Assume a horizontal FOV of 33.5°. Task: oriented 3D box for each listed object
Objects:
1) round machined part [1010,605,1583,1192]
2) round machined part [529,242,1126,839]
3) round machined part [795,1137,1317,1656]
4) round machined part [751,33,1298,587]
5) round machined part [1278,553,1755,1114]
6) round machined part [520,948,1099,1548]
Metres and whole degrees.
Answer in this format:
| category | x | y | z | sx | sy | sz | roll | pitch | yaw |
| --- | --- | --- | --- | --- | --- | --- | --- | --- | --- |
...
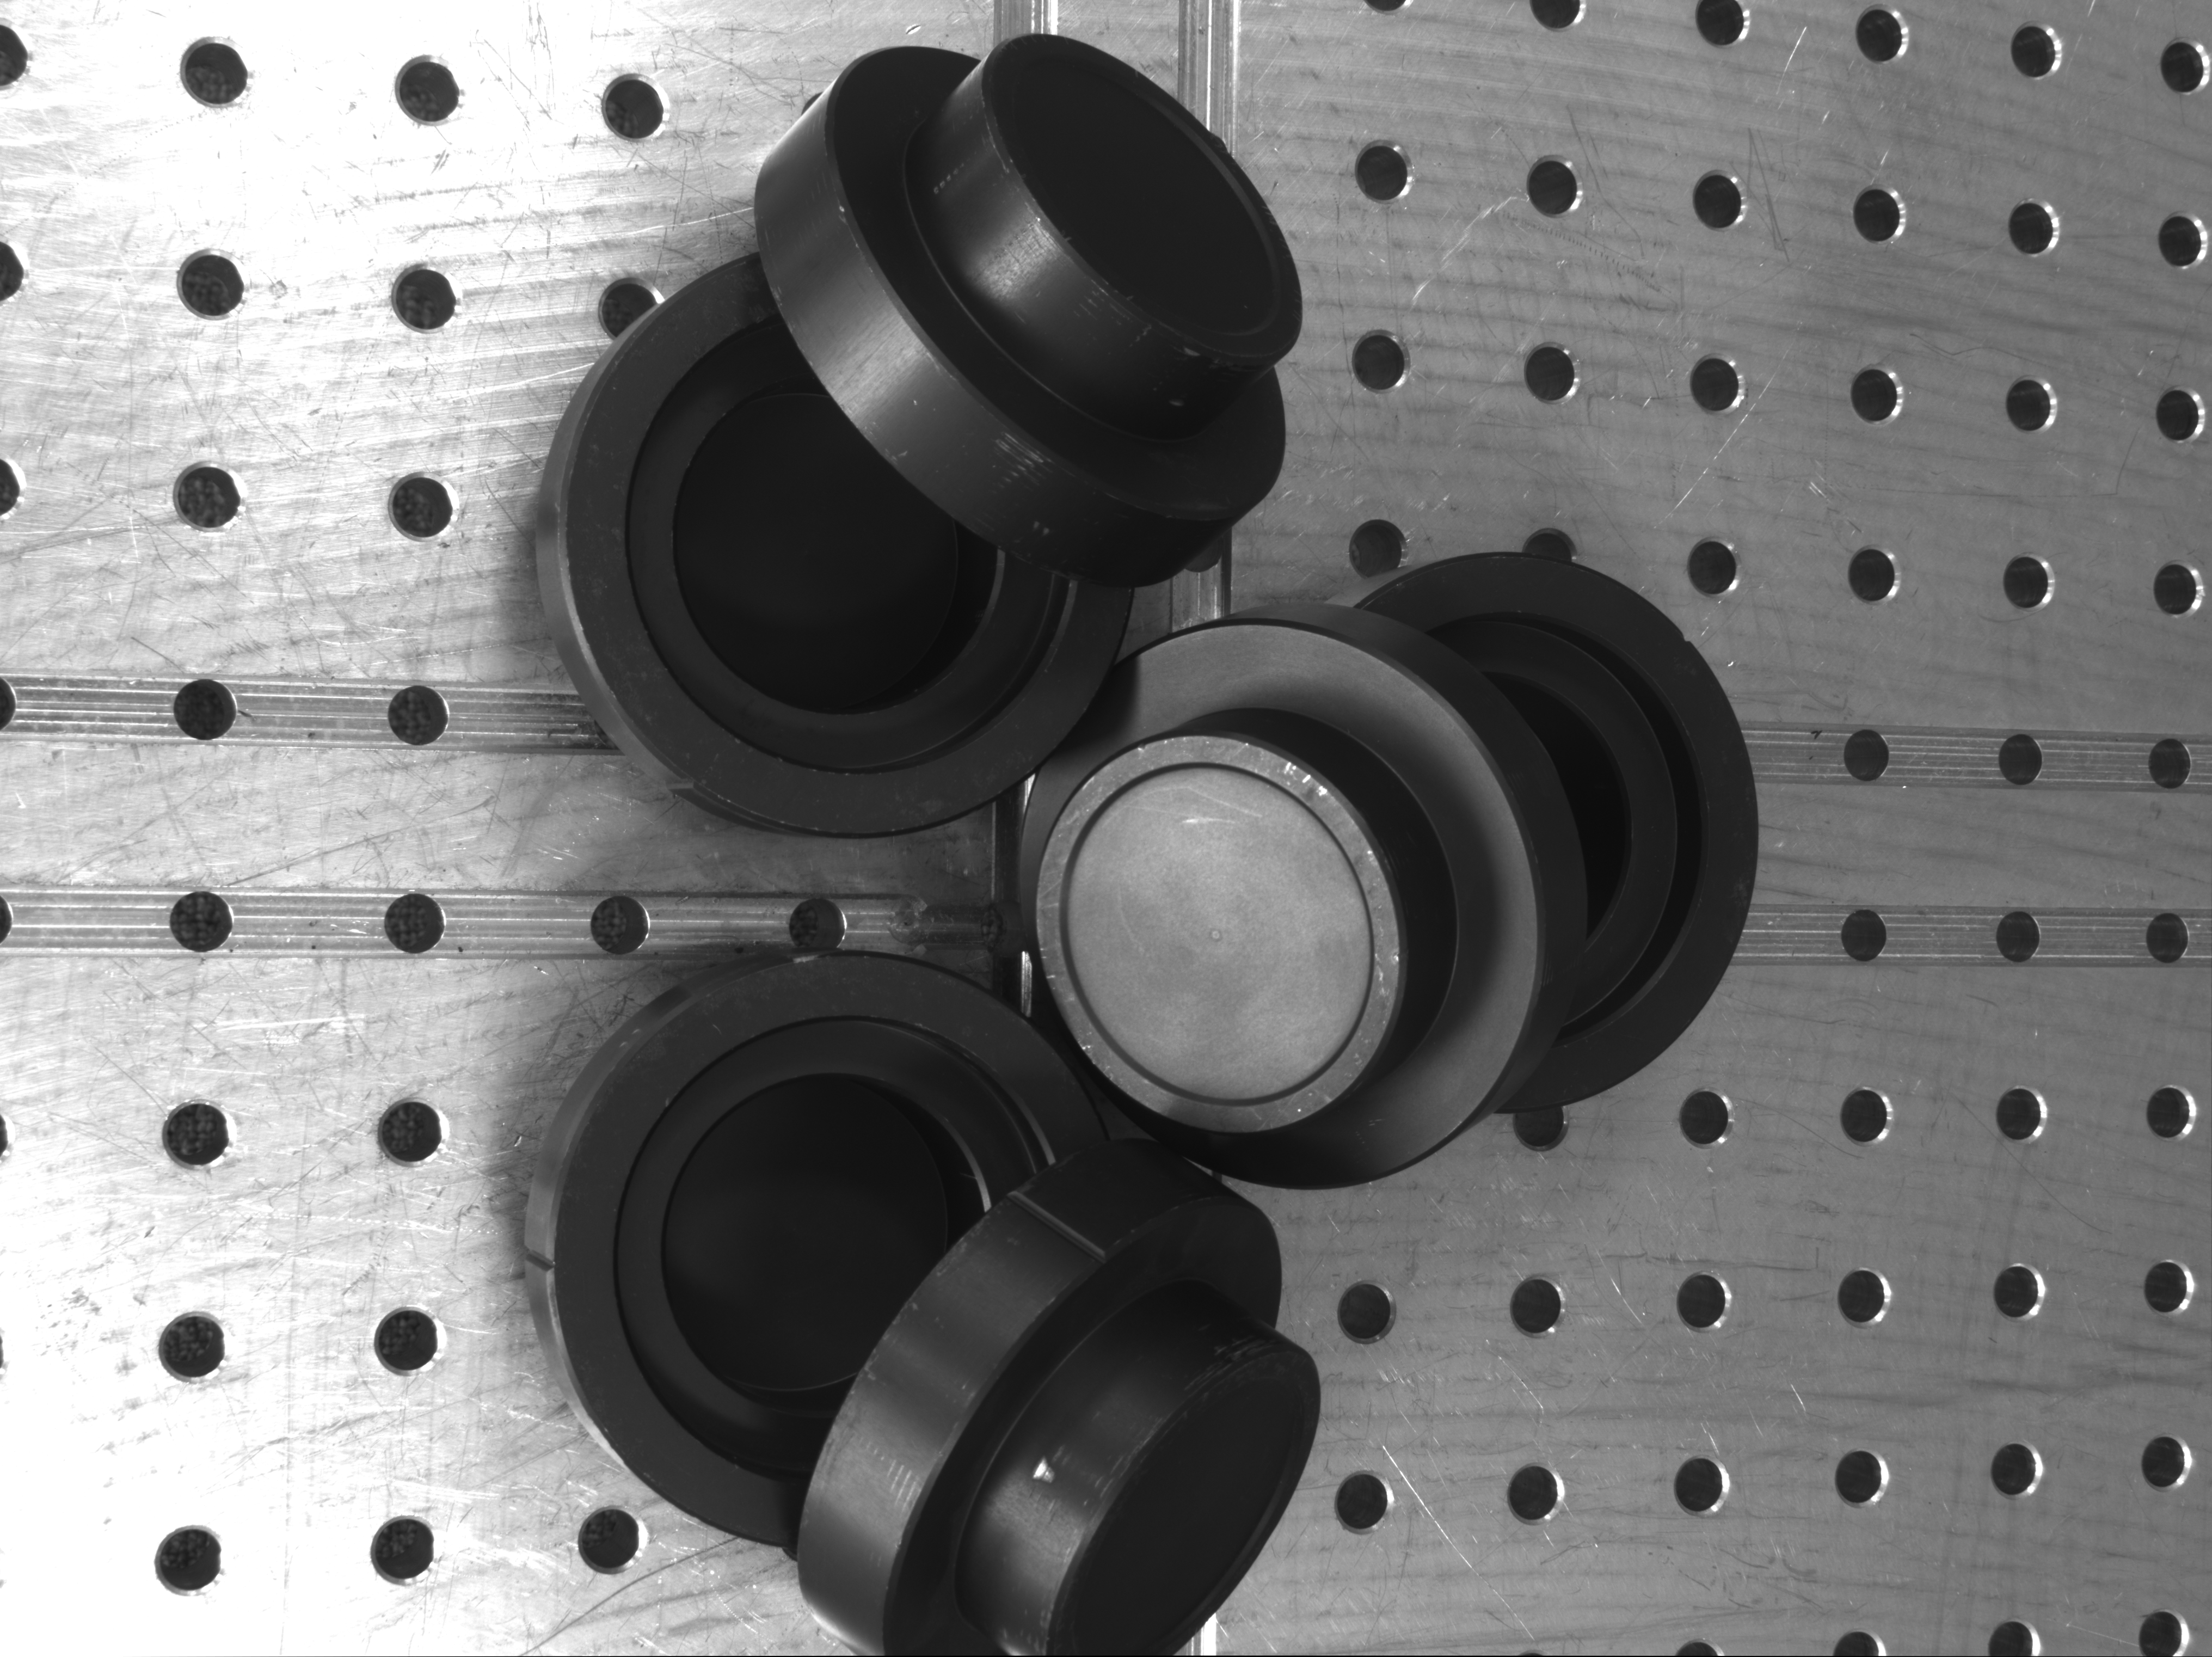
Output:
| category | x | y | z | sx | sy | sz | roll | pitch | yaw |
| --- | --- | --- | --- | --- | --- | --- | --- | --- | --- |
| round machined part | 0.026 | 0.014 | 0.614 | 0.042 | 0.098 | 0.098 | -21 | 99 | -61 |
| round machined part | -0.049 | -0.047 | 0.618 | 0.098 | 0.042 | 0.098 | 0 | 90 | -20 |
| round machined part | -0.002 | 0.104 | 0.606 | 0.098 | 0.042 | 0.098 | -38 | 145 | -33 |
| round machined part | -0.007 | -0.091 | 0.605 | 0.098 | 0.042 | 0.098 | 32 | 36 | -26 |
| round machined part | 0.063 | 0.001 | 0.659 | 0.098 | 0.042 | 0.098 | 0 | 90 | -20 |
| round machined part | -0.050 | 0.069 | 0.618 | 0.098 | 0.042 | 0.098 | 0 | 90 | -20 |
